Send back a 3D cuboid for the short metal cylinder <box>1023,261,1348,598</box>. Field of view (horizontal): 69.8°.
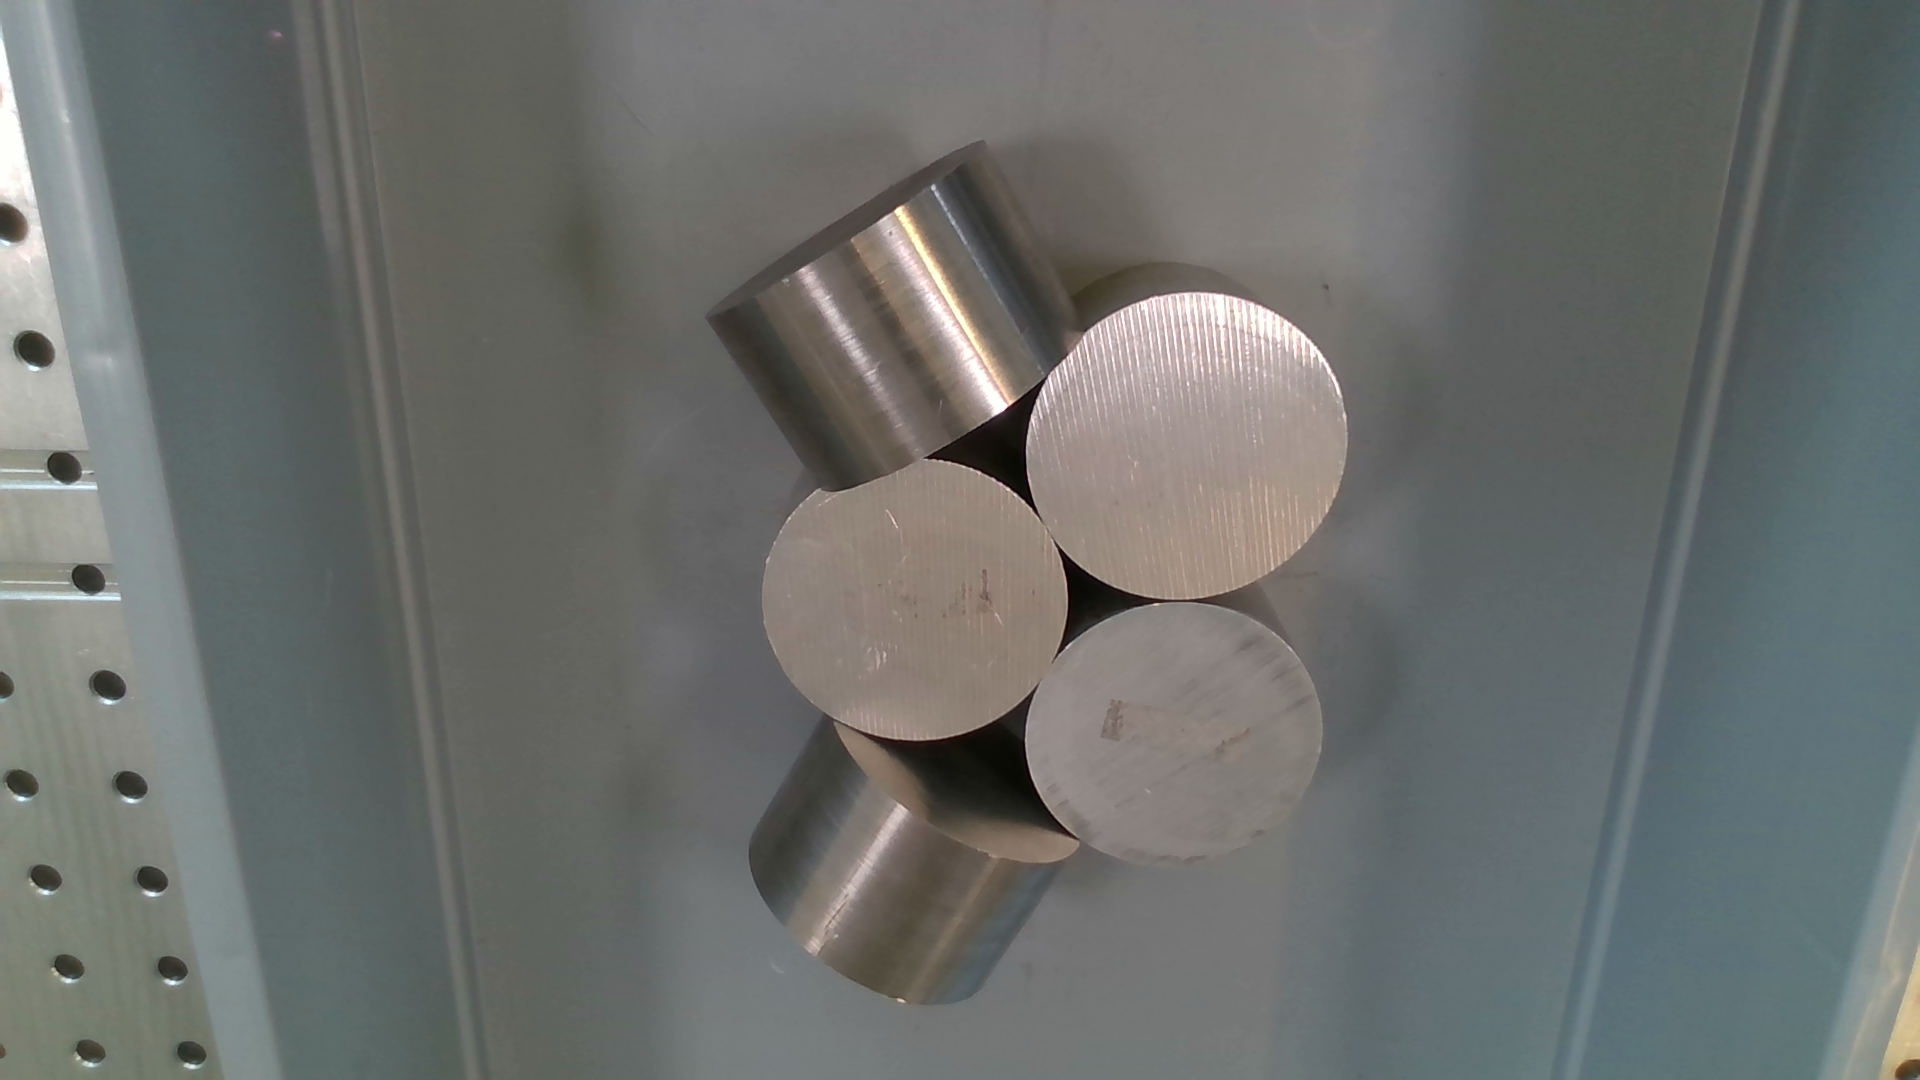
[{"bbox_3d":[0.057,-0.031,0.368,0.080,0.050,0.080,0,110,0],"label":"short metal cylinder"}]

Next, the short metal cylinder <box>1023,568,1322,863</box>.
[{"bbox_3d":[0.058,0.045,0.395,0.080,0.050,0.080,0,110,0],"label":"short metal cylinder"}]

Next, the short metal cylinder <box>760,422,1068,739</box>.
[{"bbox_3d":[-0.012,0.008,0.382,0.080,0.050,0.080,0,110,0],"label":"short metal cylinder"}]

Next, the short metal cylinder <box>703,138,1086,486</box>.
[{"bbox_3d":[-0.016,-0.057,0.342,0.080,0.080,0.050,-29,107,10],"label":"short metal cylinder"}]

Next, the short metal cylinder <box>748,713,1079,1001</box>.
[{"bbox_3d":[-0.013,0.083,0.393,0.080,0.080,0.050,28,107,-10],"label":"short metal cylinder"}]
